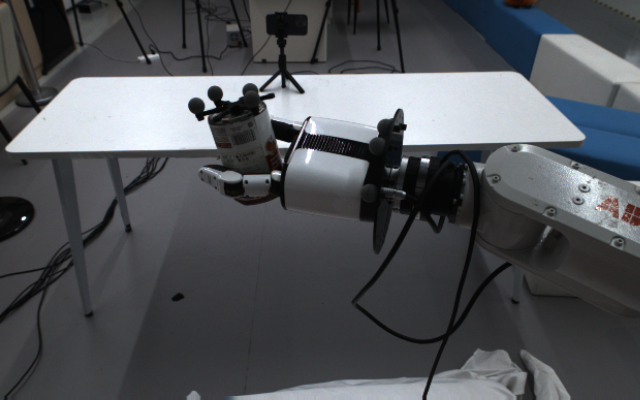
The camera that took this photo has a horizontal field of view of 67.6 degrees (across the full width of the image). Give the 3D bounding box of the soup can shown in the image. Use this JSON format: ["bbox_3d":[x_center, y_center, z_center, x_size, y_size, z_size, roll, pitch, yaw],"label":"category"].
[{"bbox_3d":[-0.078,-0.054,0.549,0.067,0.101,0.067,-11,28,6],"label":"soup can"}]
